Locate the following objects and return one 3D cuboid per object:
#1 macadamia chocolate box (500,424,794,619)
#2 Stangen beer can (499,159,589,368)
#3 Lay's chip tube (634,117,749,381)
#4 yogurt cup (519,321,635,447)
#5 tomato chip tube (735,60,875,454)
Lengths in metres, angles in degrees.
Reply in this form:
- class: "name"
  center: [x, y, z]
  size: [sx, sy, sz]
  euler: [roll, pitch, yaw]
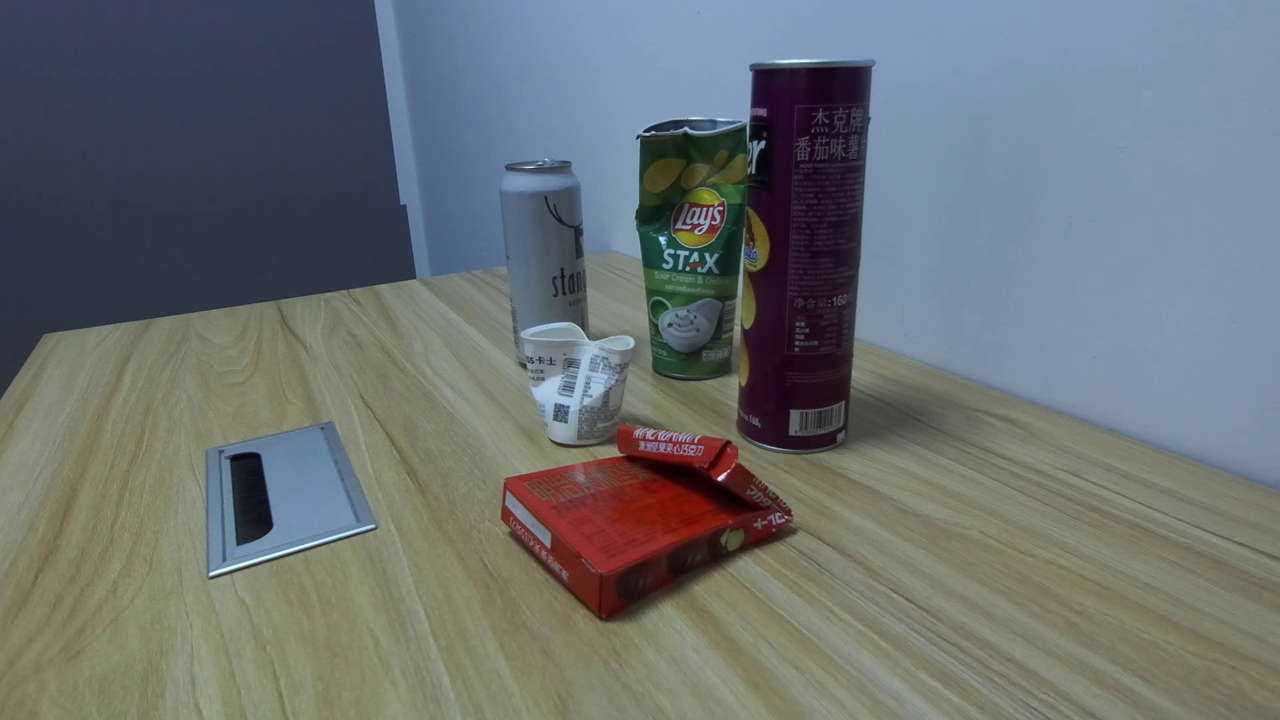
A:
- class: "macadamia chocolate box"
  center: [-0.002, 0.074, 0.382]
  size: [0.127, 0.056, 0.111]
  euler: [-19, 12, -32]
- class: "Stangen beer can"
  center: [-0.079, -0.079, 0.601]
  size: [0.067, 0.171, 0.067]
  euler: [-2, 16, 1]
- class: "Lay's chip tube"
  center: [0.042, -0.087, 0.568]
  size: [0.077, 0.201, 0.069]
  euler: [-8, 19, -12]
- class: "yogurt cup"
  center: [-0.041, 0.015, 0.481]
  size: [0.075, 0.071, 0.053]
  euler: [-3, 23, 2]
- class: "tomato chip tube"
  center: [0.101, -0.061, 0.446]
  size: [0.076, 0.234, 0.080]
  euler: [8, 23, 25]
